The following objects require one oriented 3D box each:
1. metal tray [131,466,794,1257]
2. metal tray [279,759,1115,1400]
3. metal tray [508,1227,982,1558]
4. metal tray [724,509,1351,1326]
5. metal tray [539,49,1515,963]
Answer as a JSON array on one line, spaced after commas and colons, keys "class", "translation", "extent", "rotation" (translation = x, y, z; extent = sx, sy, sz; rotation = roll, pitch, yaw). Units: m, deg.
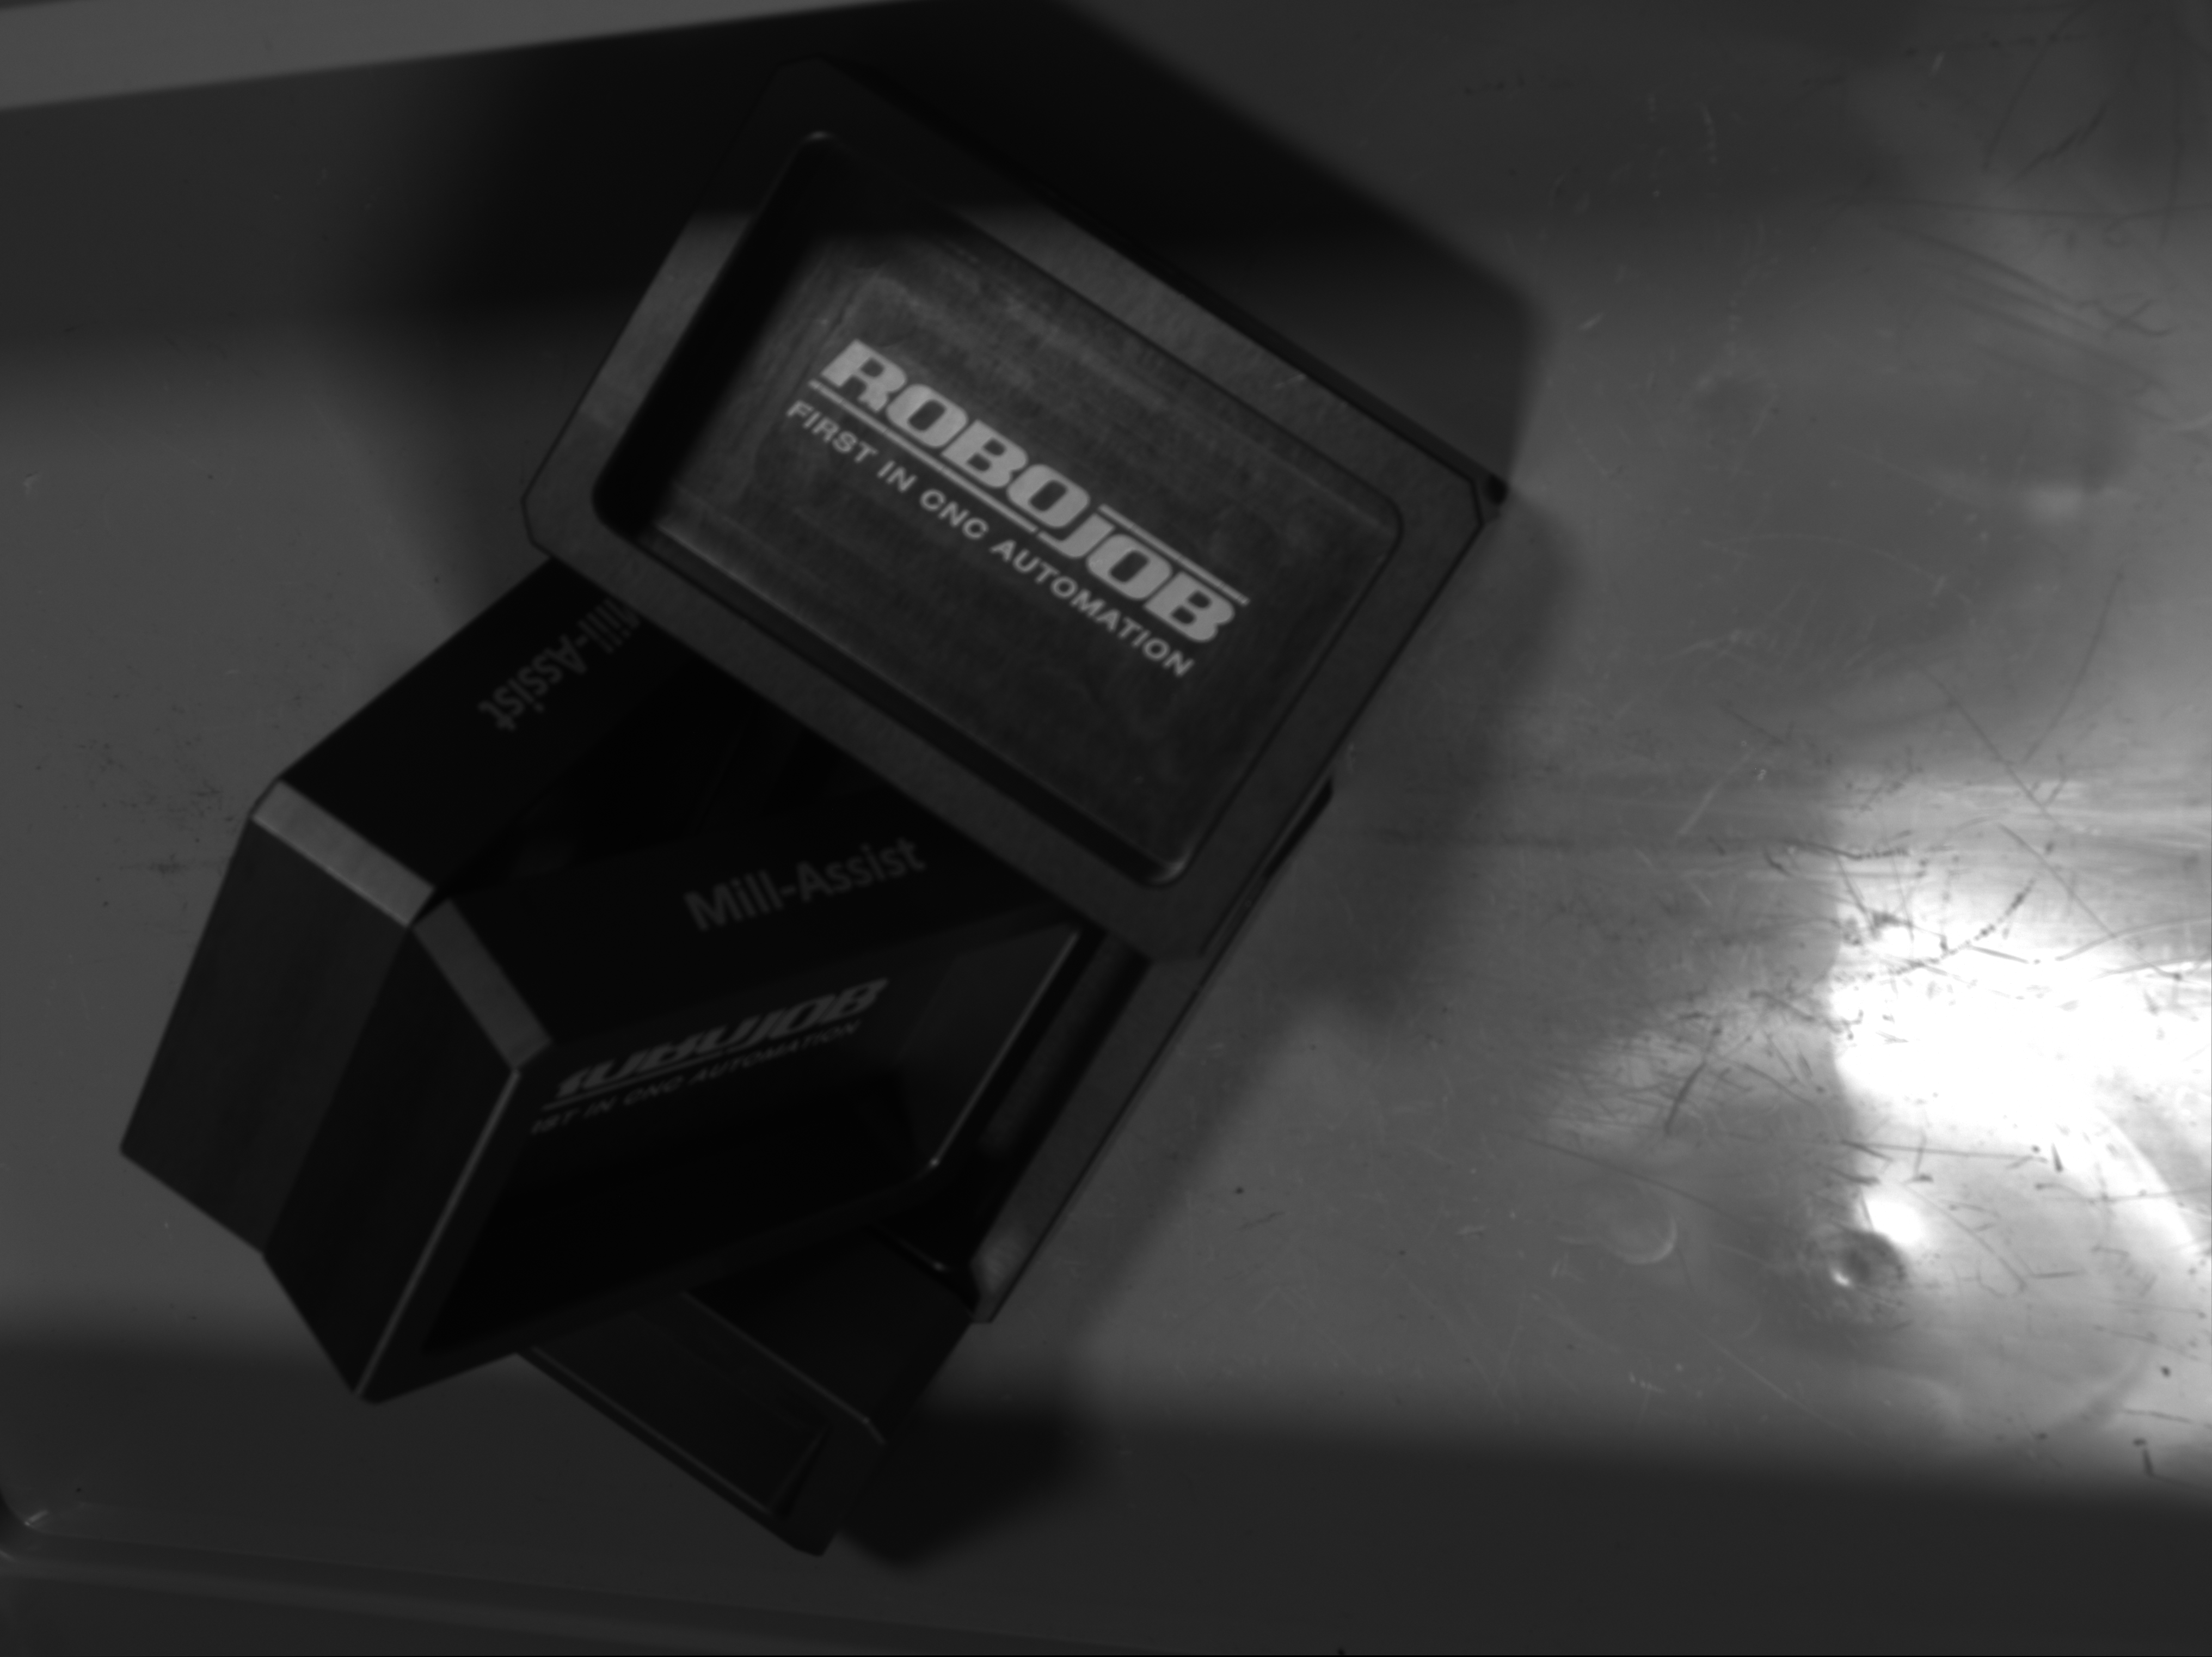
[{"class": "metal tray", "translation": [-0.102, 0.003, 0.615], "extent": [0.030, 0.130, 0.090], "rotation": [35, 128, 5]}, {"class": "metal tray", "translation": [-0.063, 0.038, 0.602], "extent": [0.030, 0.130, 0.090], "rotation": [50, 131, 23]}, {"class": "metal tray", "translation": [-0.092, 0.080, 0.699], "extent": [0.130, 0.030, 0.090], "rotation": [34, 152, 4]}, {"class": "metal tray", "translation": [-0.025, 0.018, 0.649], "extent": [0.090, 0.030, 0.130], "rotation": [34, 128, 5]}, {"class": "metal tray", "translation": [-0.012, -0.051, 0.580], "extent": [0.130, 0.030, 0.090], "rotation": [34, 102, 5]}]
